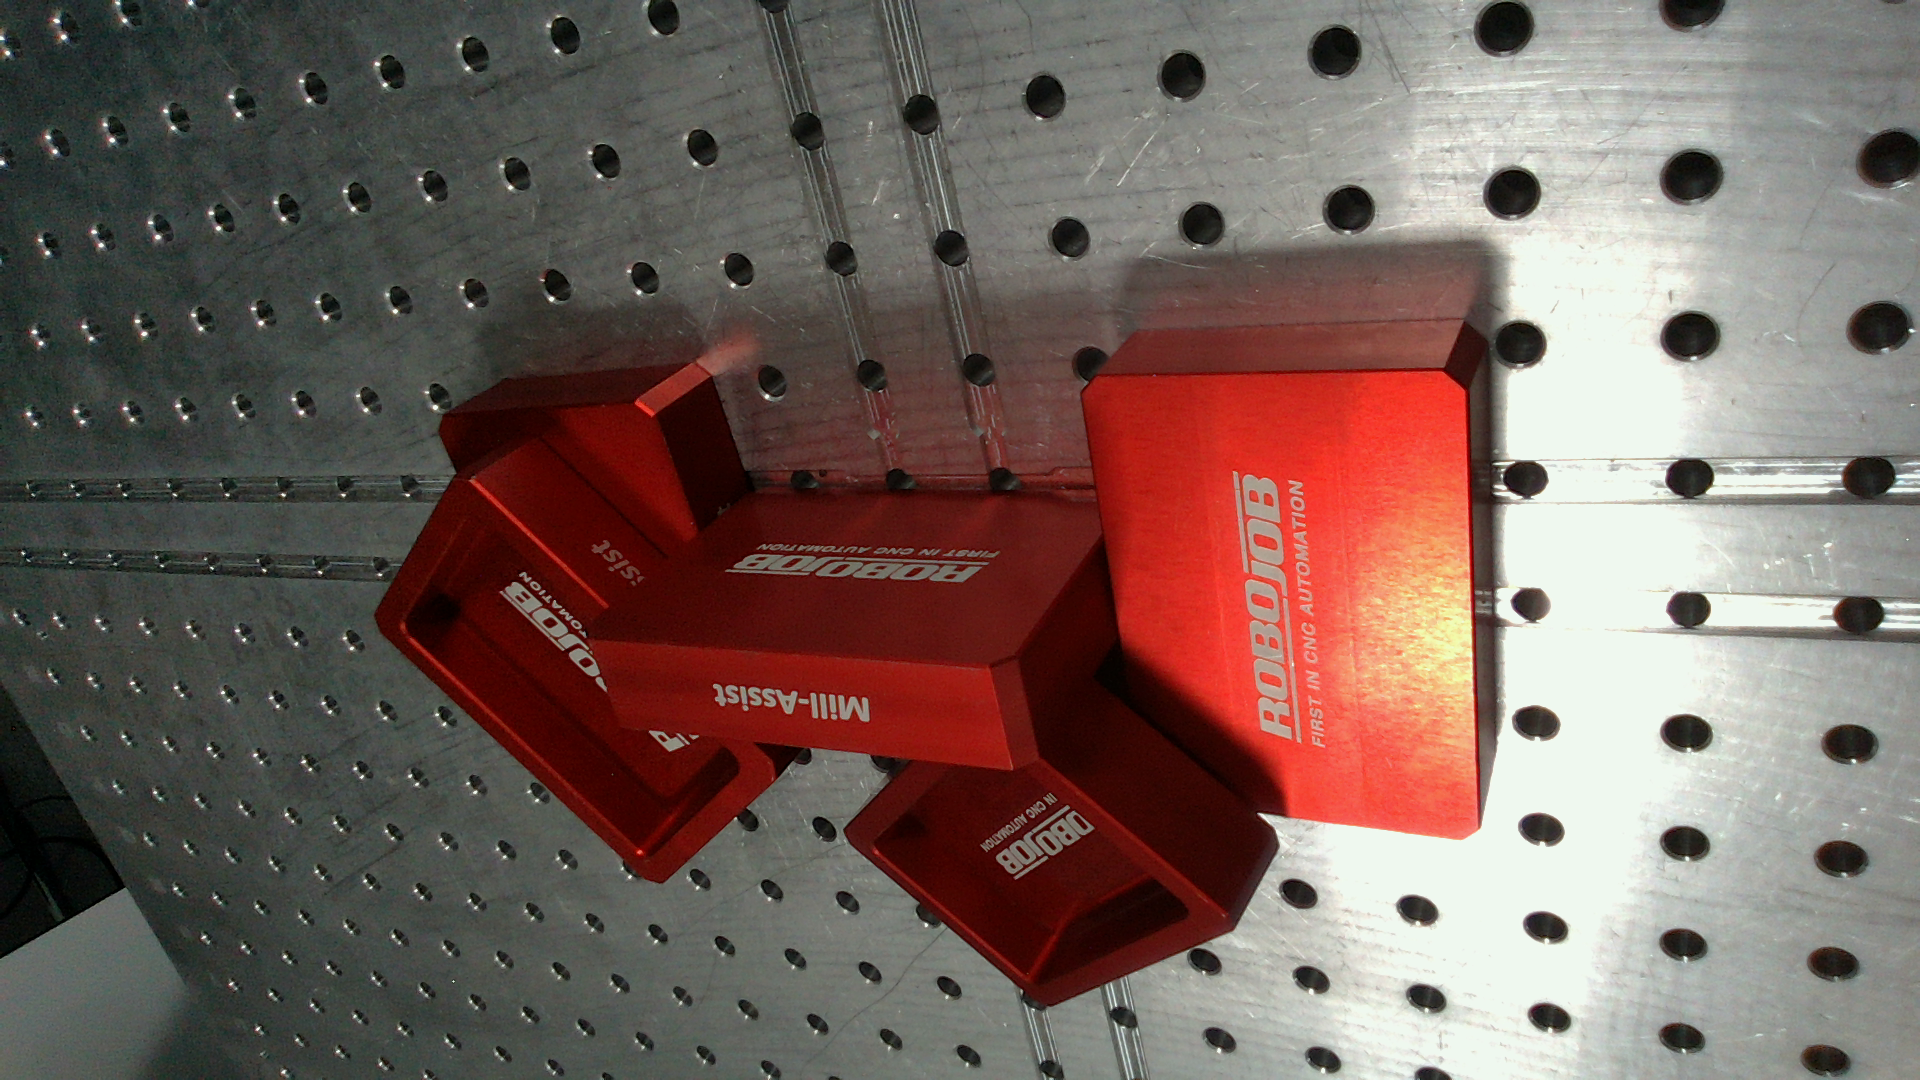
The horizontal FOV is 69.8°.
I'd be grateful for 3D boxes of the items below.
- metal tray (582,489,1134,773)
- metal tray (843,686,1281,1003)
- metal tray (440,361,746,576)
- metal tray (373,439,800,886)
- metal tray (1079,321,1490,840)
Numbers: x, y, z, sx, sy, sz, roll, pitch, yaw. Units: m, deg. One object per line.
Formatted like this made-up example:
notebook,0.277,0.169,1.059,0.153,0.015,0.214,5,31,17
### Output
metal tray,-0.025,0.019,0.378,0.130,0.090,0.030,1,119,28
metal tray,0.024,0.089,0.411,0.090,0.030,0.130,39,147,1
metal tray,-0.107,0.009,0.457,0.090,0.030,0.130,-1,119,29
metal tray,-0.118,0.042,0.441,0.130,0.030,0.090,44,129,-3
metal tray,0.086,0.012,0.352,0.090,0.030,0.130,3,120,27
